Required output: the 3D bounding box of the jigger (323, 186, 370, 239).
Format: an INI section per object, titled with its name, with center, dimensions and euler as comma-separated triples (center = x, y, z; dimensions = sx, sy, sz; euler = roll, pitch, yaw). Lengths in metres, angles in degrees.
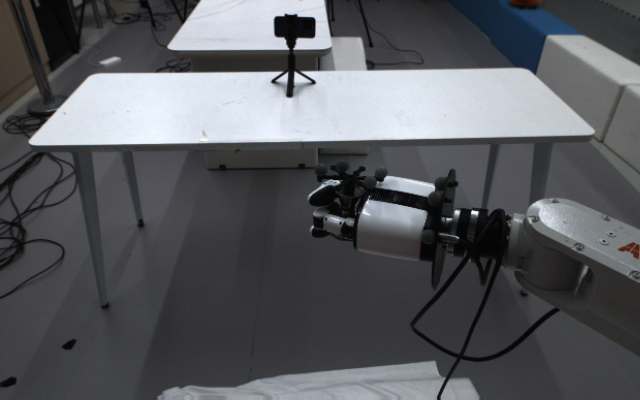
[jigger]
center = 0.042, 0.016, 0.669
dimensions = 0.043, 0.071, 0.043
euler = 3, 25, -1
